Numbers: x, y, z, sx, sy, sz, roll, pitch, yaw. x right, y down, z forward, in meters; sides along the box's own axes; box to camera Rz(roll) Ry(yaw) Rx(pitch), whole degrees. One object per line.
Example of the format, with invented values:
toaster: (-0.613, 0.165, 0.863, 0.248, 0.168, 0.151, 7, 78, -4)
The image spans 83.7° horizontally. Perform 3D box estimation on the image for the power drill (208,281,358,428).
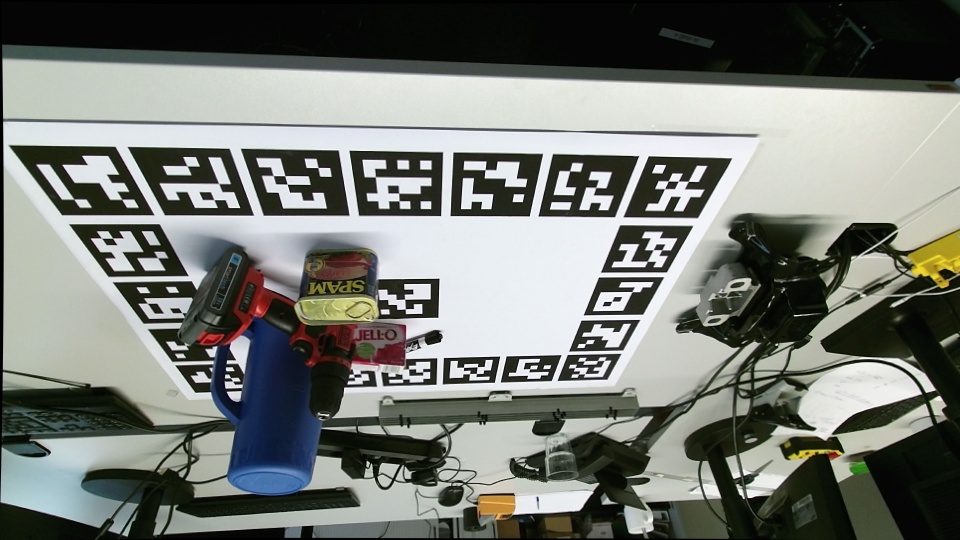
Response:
power drill: (-0.256, 0.107, 0.723, 0.188, 0.183, 0.057, 29, 126, -26)

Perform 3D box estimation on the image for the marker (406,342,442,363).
marker: (-0.120, 0.146, 0.903, 0.121, 0.019, 0.020, -20, 136, 14)

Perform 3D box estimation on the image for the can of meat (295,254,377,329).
can of meat: (-0.189, 0.028, 0.711, 0.102, 0.083, 0.058, -2, 140, -4)

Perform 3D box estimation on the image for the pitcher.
pitcher: (-0.308, 0.193, 0.780, 0.189, 0.241, 0.133, 18, 130, -34)

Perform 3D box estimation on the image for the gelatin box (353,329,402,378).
gelatin box: (-0.170, 0.129, 0.842, 0.090, 0.073, 0.030, 7, 133, -12)
